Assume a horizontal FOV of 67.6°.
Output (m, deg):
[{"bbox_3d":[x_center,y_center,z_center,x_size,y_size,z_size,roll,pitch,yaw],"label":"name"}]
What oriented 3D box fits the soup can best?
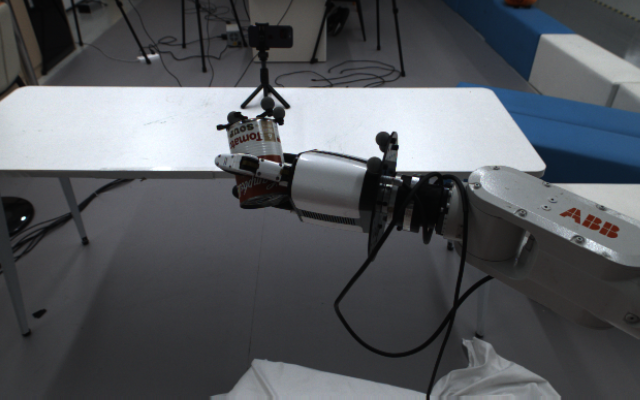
[{"bbox_3d":[-0.077,-0.045,0.622,0.067,0.067,0.101,-10,79,-17],"label":"soup can"}]
